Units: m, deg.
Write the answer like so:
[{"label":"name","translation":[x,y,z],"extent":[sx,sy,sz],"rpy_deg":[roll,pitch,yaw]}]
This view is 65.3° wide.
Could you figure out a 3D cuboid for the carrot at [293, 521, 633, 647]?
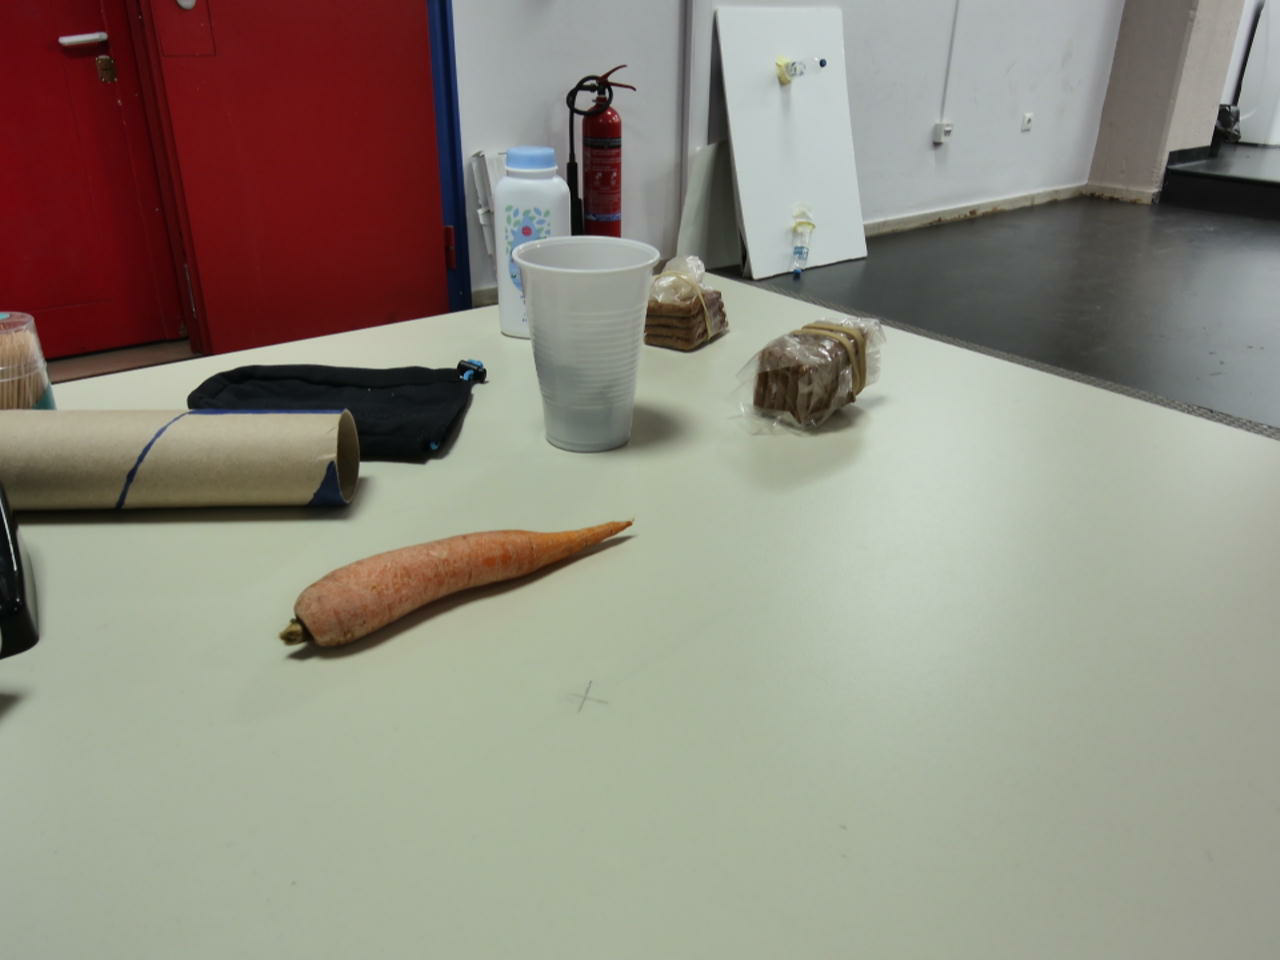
[{"label":"carrot","translation":[-0.072,0.034,0.434],"extent":[0.163,0.029,0.031],"rpy_deg":[-18,29,-35]}]
